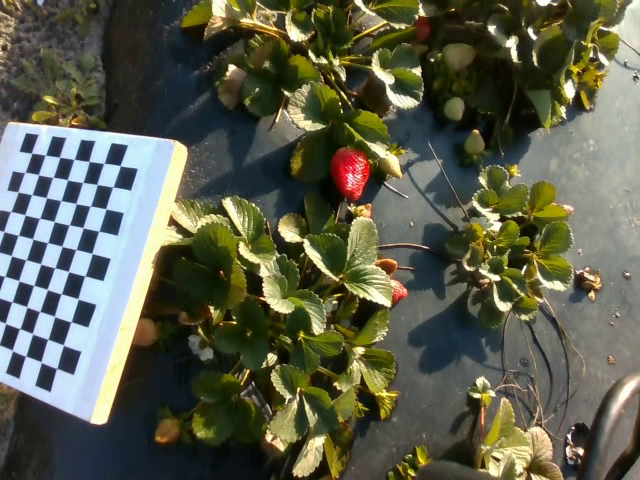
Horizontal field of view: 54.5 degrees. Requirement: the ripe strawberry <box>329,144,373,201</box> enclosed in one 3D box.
[{"bbox_3d":[0.036,-0.072,0.694,0.056,0.072,0.055,-16,-31,22],"label":"ripe strawberry"}]
